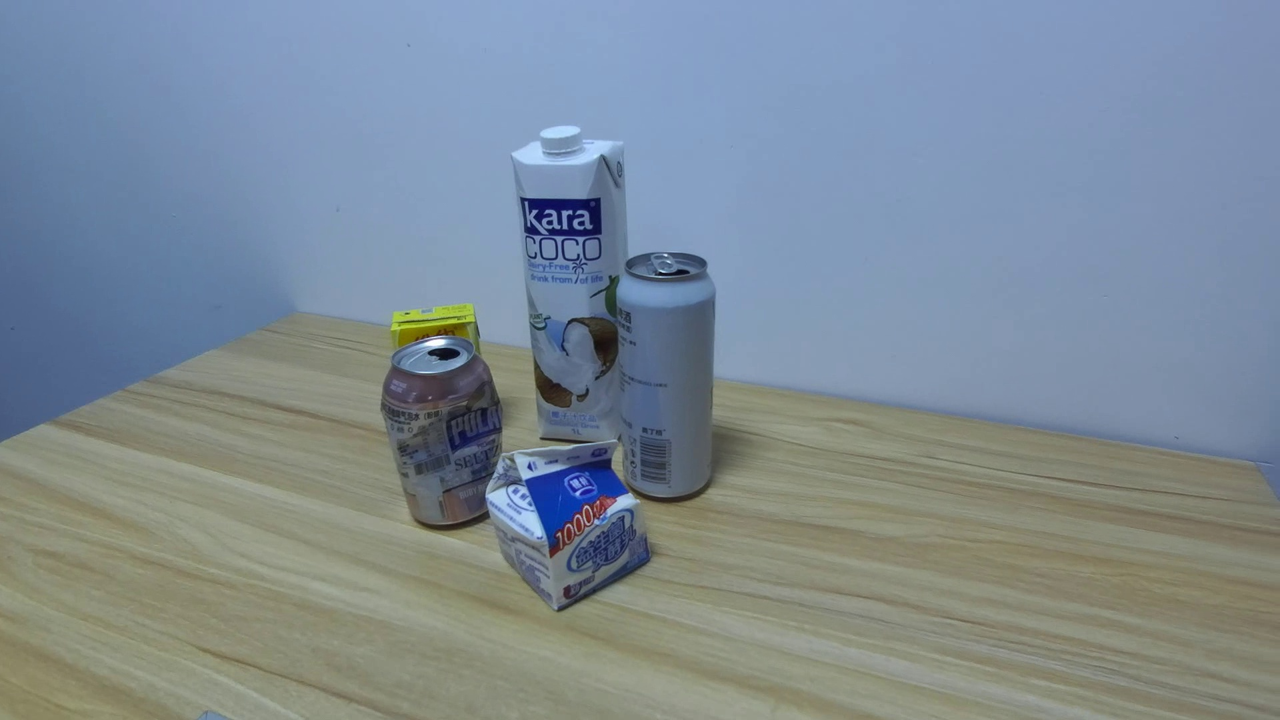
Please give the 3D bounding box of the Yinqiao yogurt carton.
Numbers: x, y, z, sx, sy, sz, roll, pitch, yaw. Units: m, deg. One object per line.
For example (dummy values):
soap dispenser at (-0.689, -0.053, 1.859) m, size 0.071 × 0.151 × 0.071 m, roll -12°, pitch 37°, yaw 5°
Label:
Yinqiao yogurt carton at (-0.046, 0.086, 0.436) m, size 0.083 × 0.093 × 0.077 m, roll -19°, pitch 30°, yaw -33°

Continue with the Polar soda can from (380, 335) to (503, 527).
Polar soda can at (-0.132, 0.051, 0.488) m, size 0.074 × 0.122 × 0.067 m, roll -3°, pitch 25°, yaw 0°

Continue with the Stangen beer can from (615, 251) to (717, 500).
Stangen beer can at (0.018, 0.013, 0.495) m, size 0.067 × 0.171 × 0.067 m, roll -2°, pitch 26°, yaw 1°
